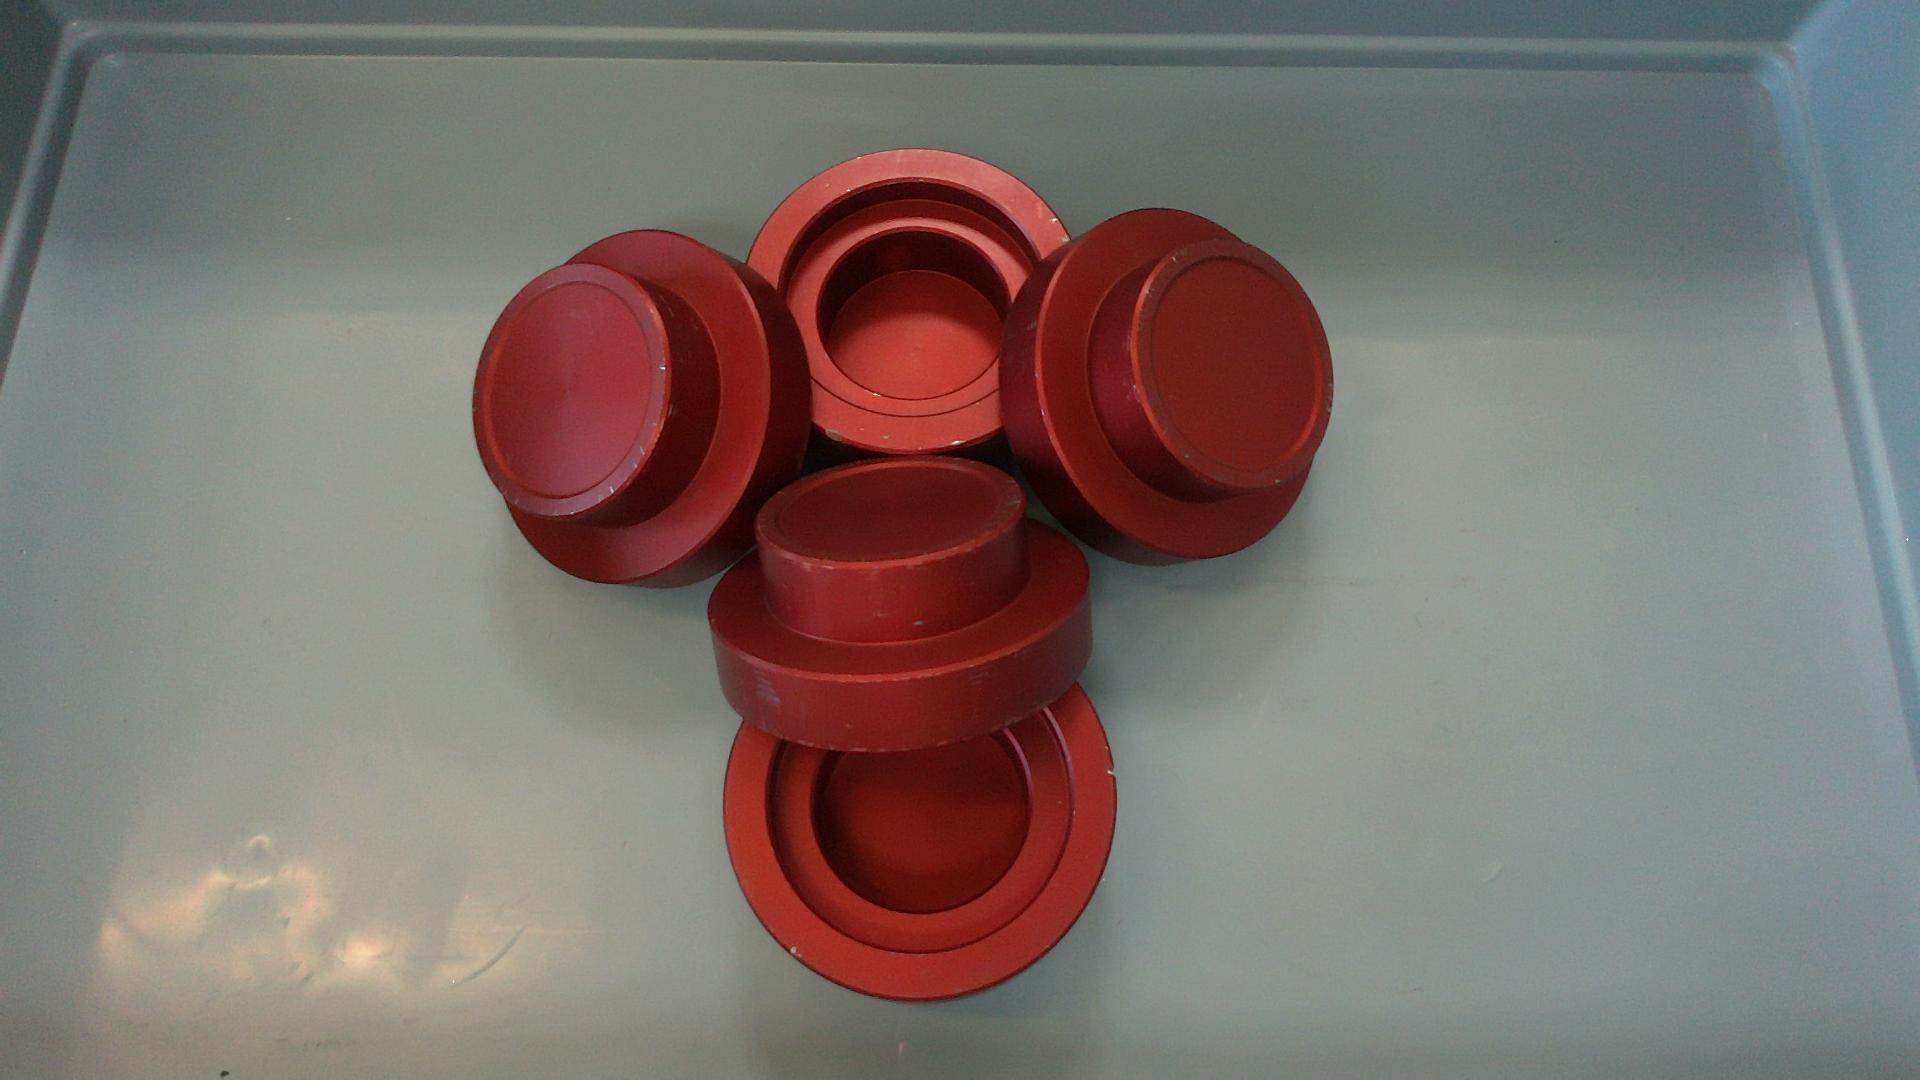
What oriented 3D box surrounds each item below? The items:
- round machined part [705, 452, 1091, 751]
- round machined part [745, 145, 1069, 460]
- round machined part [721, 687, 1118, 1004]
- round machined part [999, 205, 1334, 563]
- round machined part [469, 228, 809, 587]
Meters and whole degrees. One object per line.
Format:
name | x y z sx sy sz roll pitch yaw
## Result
round machined part | -0.016 0.009 0.350 0.098 0.098 0.042 -6 114 -2
round machined part | -0.013 -0.063 0.406 0.098 0.042 0.098 0 70 0
round machined part | -0.010 0.070 0.358 0.098 0.042 0.098 0 70 0
round machined part | 0.063 -0.044 0.377 0.098 0.042 0.098 5 81 -29
round machined part | -0.093 -0.037 0.374 0.098 0.042 0.098 -4 82 27
